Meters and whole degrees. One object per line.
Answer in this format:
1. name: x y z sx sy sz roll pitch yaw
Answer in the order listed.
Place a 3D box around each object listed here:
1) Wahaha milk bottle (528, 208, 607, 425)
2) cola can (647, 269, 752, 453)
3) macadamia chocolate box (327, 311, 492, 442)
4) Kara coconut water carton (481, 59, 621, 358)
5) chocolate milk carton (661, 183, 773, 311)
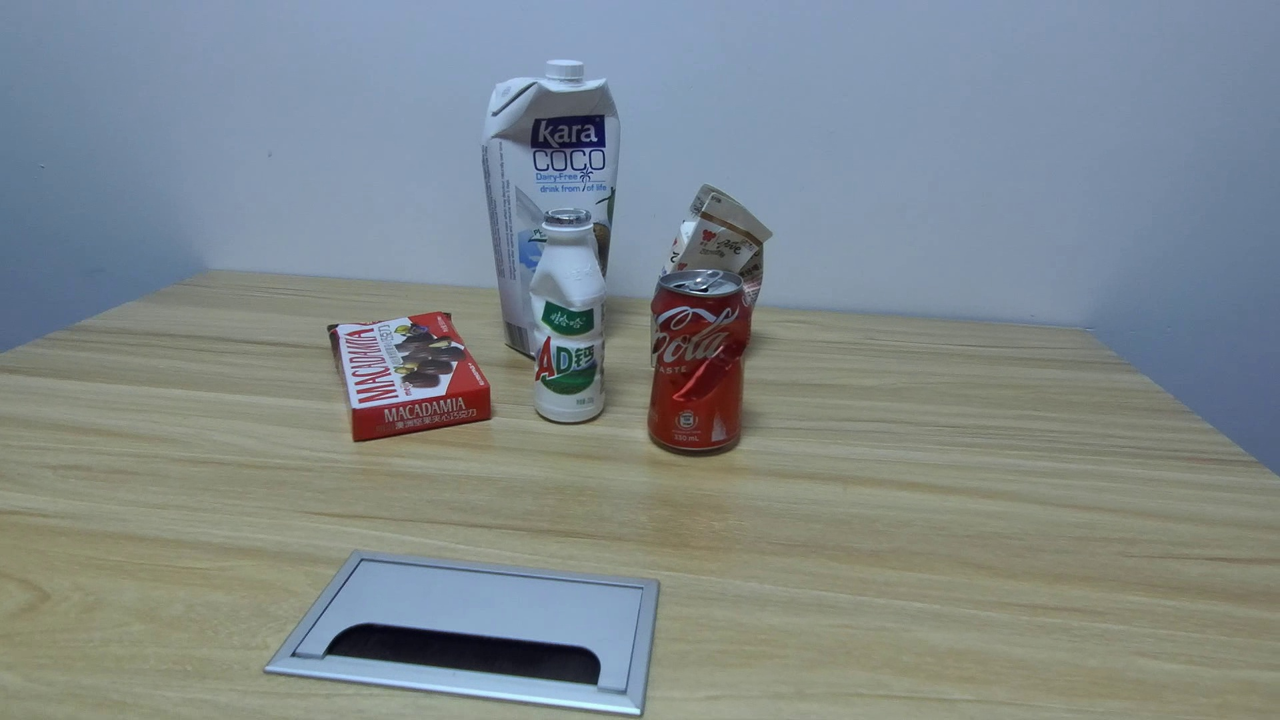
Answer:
1. Wahaha milk bottle: -0.050 -0.030 0.495 0.056 0.148 0.056 2 24 -1
2. cola can: 0.039 0.000 0.472 0.066 0.117 0.066 2 23 1
3. macadamia chocolate box: -0.187 0.005 0.567 0.106 0.028 0.182 -9 26 -24
4. Kara coconut water carton: -0.074 -0.125 0.598 0.115 0.238 0.069 -14 29 -36
5. chocolate milk carton: 0.060 -0.066 0.588 0.089 0.155 0.076 15 28 -3
